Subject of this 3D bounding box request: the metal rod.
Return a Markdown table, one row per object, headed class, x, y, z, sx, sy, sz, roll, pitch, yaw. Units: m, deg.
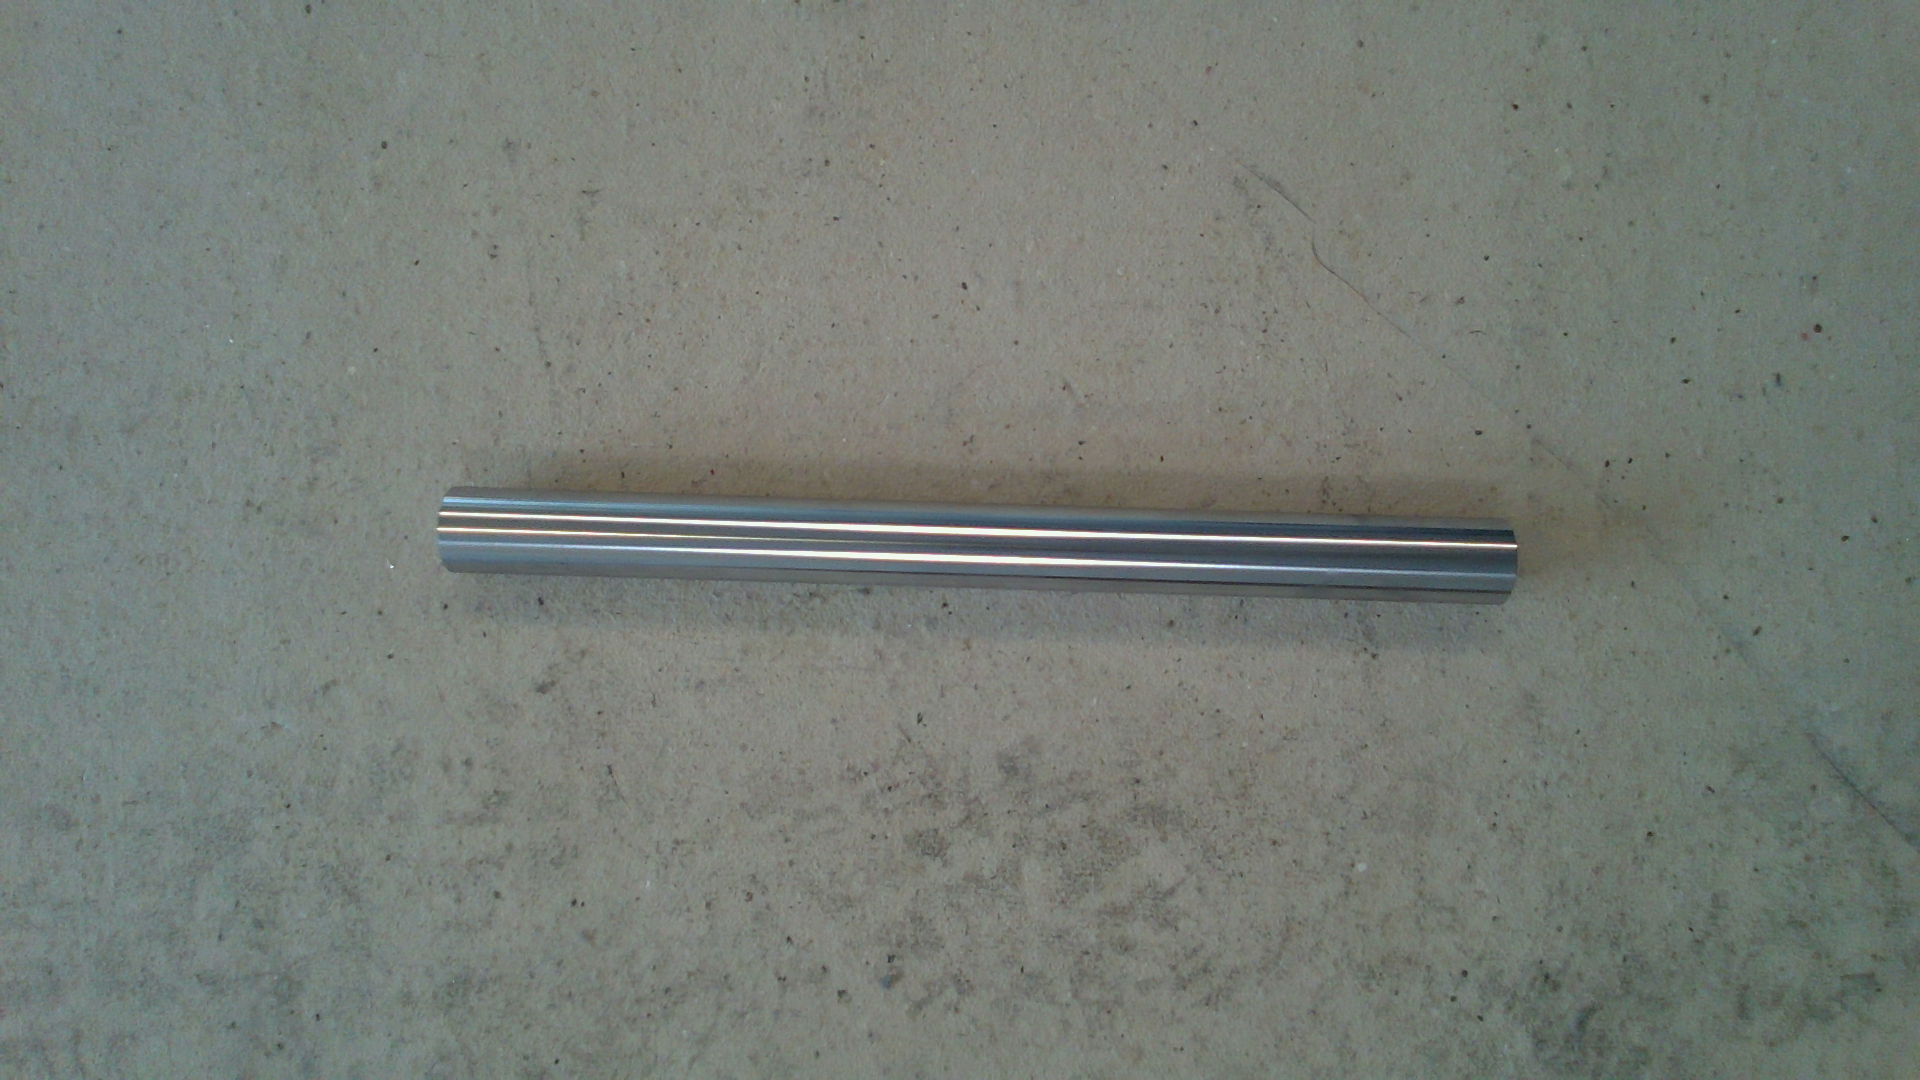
| class | x | y | z | sx | sy | sz | roll | pitch | yaw |
| --- | --- | --- | --- | --- | --- | --- | --- | --- | --- |
| metal rod | 0.004 | 0.001 | 0.395 | 0.300 | 0.025 | 0.025 | 2 | 90 | 0 |
